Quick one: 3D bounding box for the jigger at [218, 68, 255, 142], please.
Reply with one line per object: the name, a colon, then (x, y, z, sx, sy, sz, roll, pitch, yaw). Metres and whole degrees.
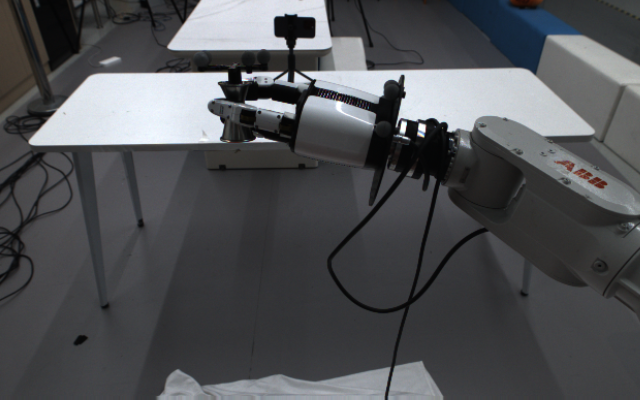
jigger: (-0.104, -0.108, 0.586, 0.043, 0.071, 0.043, 0, 21, 0)
